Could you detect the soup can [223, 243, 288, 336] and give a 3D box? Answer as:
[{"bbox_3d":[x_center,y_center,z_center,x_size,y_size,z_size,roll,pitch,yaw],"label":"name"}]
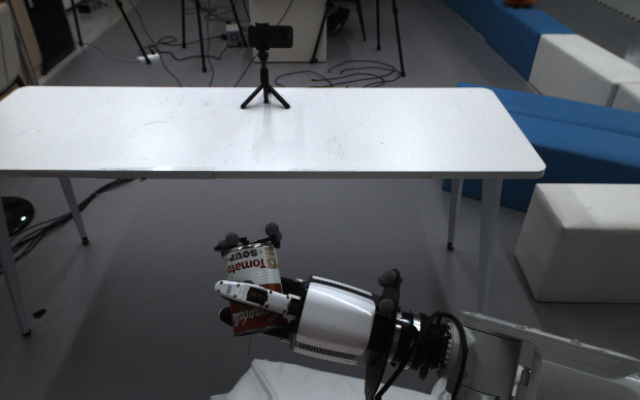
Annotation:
[{"bbox_3d":[-0.077,0.111,0.597,0.067,0.067,0.101,-8,74,-14],"label":"soup can"}]
